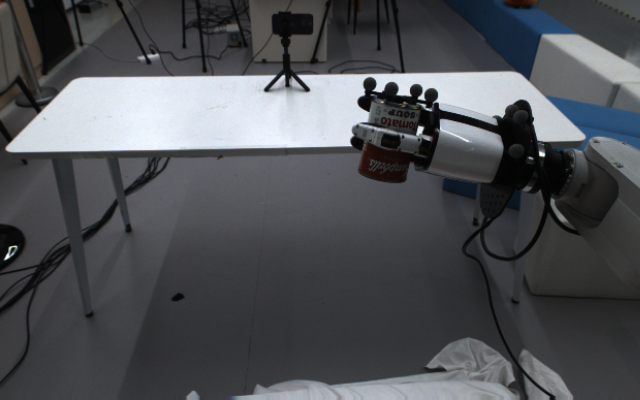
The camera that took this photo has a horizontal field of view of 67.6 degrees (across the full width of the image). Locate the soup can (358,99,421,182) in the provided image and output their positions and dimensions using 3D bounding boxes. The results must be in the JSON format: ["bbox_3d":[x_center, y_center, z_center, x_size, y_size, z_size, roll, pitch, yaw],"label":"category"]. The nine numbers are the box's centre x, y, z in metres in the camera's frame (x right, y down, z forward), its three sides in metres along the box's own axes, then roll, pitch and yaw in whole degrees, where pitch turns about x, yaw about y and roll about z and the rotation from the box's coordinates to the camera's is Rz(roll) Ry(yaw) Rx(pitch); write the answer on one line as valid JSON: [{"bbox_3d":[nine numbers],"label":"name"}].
[{"bbox_3d":[0.094,-0.081,0.644,0.067,0.101,0.067,8,19,-3],"label":"soup can"}]
